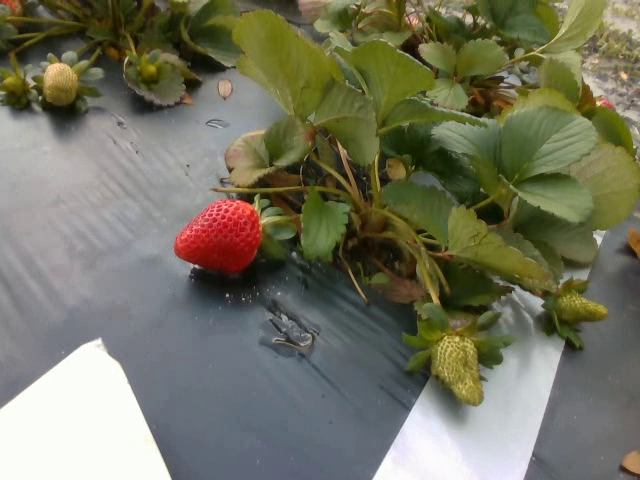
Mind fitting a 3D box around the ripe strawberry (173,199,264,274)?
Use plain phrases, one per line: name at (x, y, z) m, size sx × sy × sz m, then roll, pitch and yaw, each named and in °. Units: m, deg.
ripe strawberry at (-0.045, -0.002, 0.279) m, size 0.046 × 0.040 × 0.036 m, roll -5°, pitch 18°, yaw -38°
